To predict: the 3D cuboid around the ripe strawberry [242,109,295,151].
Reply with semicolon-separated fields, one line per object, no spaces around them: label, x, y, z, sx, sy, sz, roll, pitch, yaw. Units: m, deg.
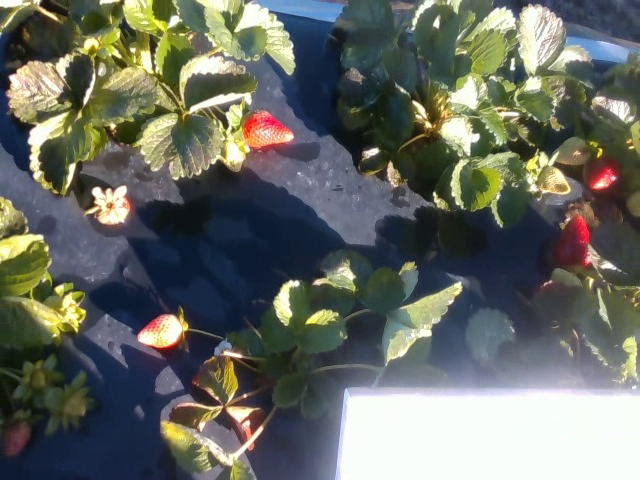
ripe strawberry;-0.056;-0.117;0.635;0.064;0.050;0.052;12;12;-2
